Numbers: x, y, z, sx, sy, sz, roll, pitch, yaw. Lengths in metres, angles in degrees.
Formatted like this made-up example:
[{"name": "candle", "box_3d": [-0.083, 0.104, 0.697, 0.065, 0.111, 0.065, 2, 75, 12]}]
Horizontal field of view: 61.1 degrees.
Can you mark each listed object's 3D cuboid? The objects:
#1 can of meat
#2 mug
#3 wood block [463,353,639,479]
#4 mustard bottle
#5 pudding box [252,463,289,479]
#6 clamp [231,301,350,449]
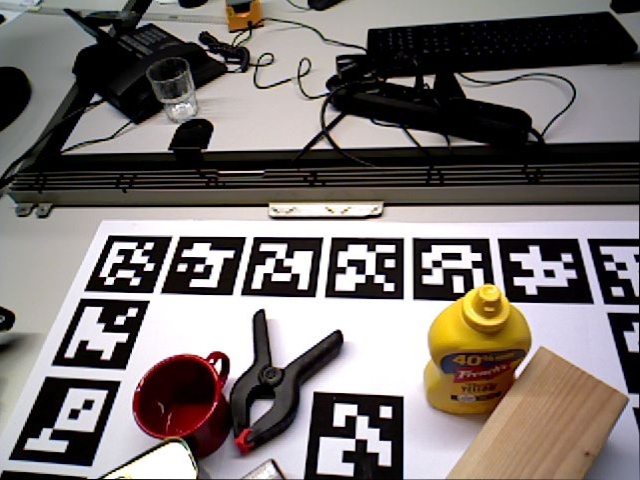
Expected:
[{"name": "can of meat", "box_3d": [-0.157, 0.245, 0.508, 0.101, 0.085, 0.057, -24, 53, -11]}, {"name": "mug", "box_3d": [-0.134, 0.181, 0.594, 0.093, 0.083, 0.115, 19, 58, 21]}, {"name": "wood block", "box_3d": [0.192, 0.214, 0.487, 0.090, 0.092, 0.202, 32, 60, 31]}, {"name": "mustard bottle", "box_3d": [0.155, 0.098, 0.512, 0.096, 0.195, 0.057, -4, 51, 5]}, {"name": "pudding box", "box_3d": [-0.059, 0.280, 0.502, 0.112, 0.039, 0.090, -31, 54, -18]}, {"name": "clamp", "box_3d": [-0.049, 0.153, 0.609, 0.122, 0.037, 0.162, 17, 58, 19]}]
